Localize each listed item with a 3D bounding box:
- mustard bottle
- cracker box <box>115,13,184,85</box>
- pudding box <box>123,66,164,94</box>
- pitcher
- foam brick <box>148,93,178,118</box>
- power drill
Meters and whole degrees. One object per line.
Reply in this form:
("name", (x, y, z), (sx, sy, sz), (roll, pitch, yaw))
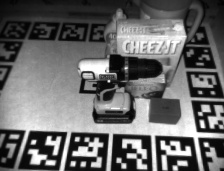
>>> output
("mustard bottle", (0.014, -0.170, 0.655), (0.096, 0.192, 0.058), (12, 60, 10))
("cracker box", (0.094, -0.086, 0.592), (0.164, 0.215, 0.071), (-2, 56, 4))
("pudding box", (0.086, -0.016, 0.612), (0.113, 0.090, 0.038), (1, 56, 5))
("pitcher", (0.147, -0.173, 0.641), (0.188, 0.244, 0.133), (6, 58, 8))
("foam brick", (0.141, 0.057, 0.603), (0.078, 0.051, 0.052), (4, 59, 4))
("power drill", (0.017, -0.004, 0.523), (0.184, 0.188, 0.057), (0, 54, 1))
